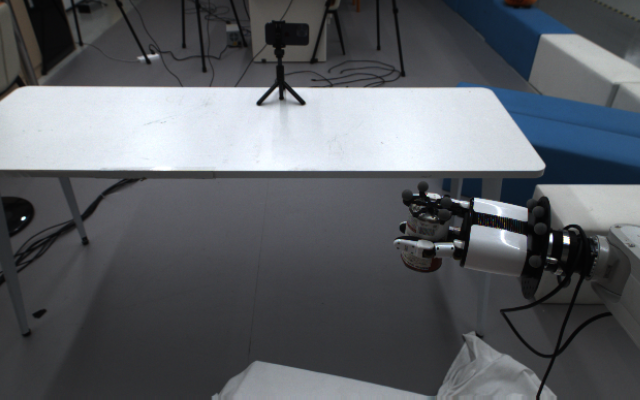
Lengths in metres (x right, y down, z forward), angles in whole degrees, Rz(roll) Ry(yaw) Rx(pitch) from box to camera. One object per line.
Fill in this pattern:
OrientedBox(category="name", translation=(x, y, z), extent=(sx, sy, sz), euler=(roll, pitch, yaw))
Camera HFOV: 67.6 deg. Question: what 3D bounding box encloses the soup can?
OrientedBox(category="soup can", translation=(0.171, 0.056, 0.774), extent=(0.067, 0.101, 0.067), euler=(2, 32, -1))
